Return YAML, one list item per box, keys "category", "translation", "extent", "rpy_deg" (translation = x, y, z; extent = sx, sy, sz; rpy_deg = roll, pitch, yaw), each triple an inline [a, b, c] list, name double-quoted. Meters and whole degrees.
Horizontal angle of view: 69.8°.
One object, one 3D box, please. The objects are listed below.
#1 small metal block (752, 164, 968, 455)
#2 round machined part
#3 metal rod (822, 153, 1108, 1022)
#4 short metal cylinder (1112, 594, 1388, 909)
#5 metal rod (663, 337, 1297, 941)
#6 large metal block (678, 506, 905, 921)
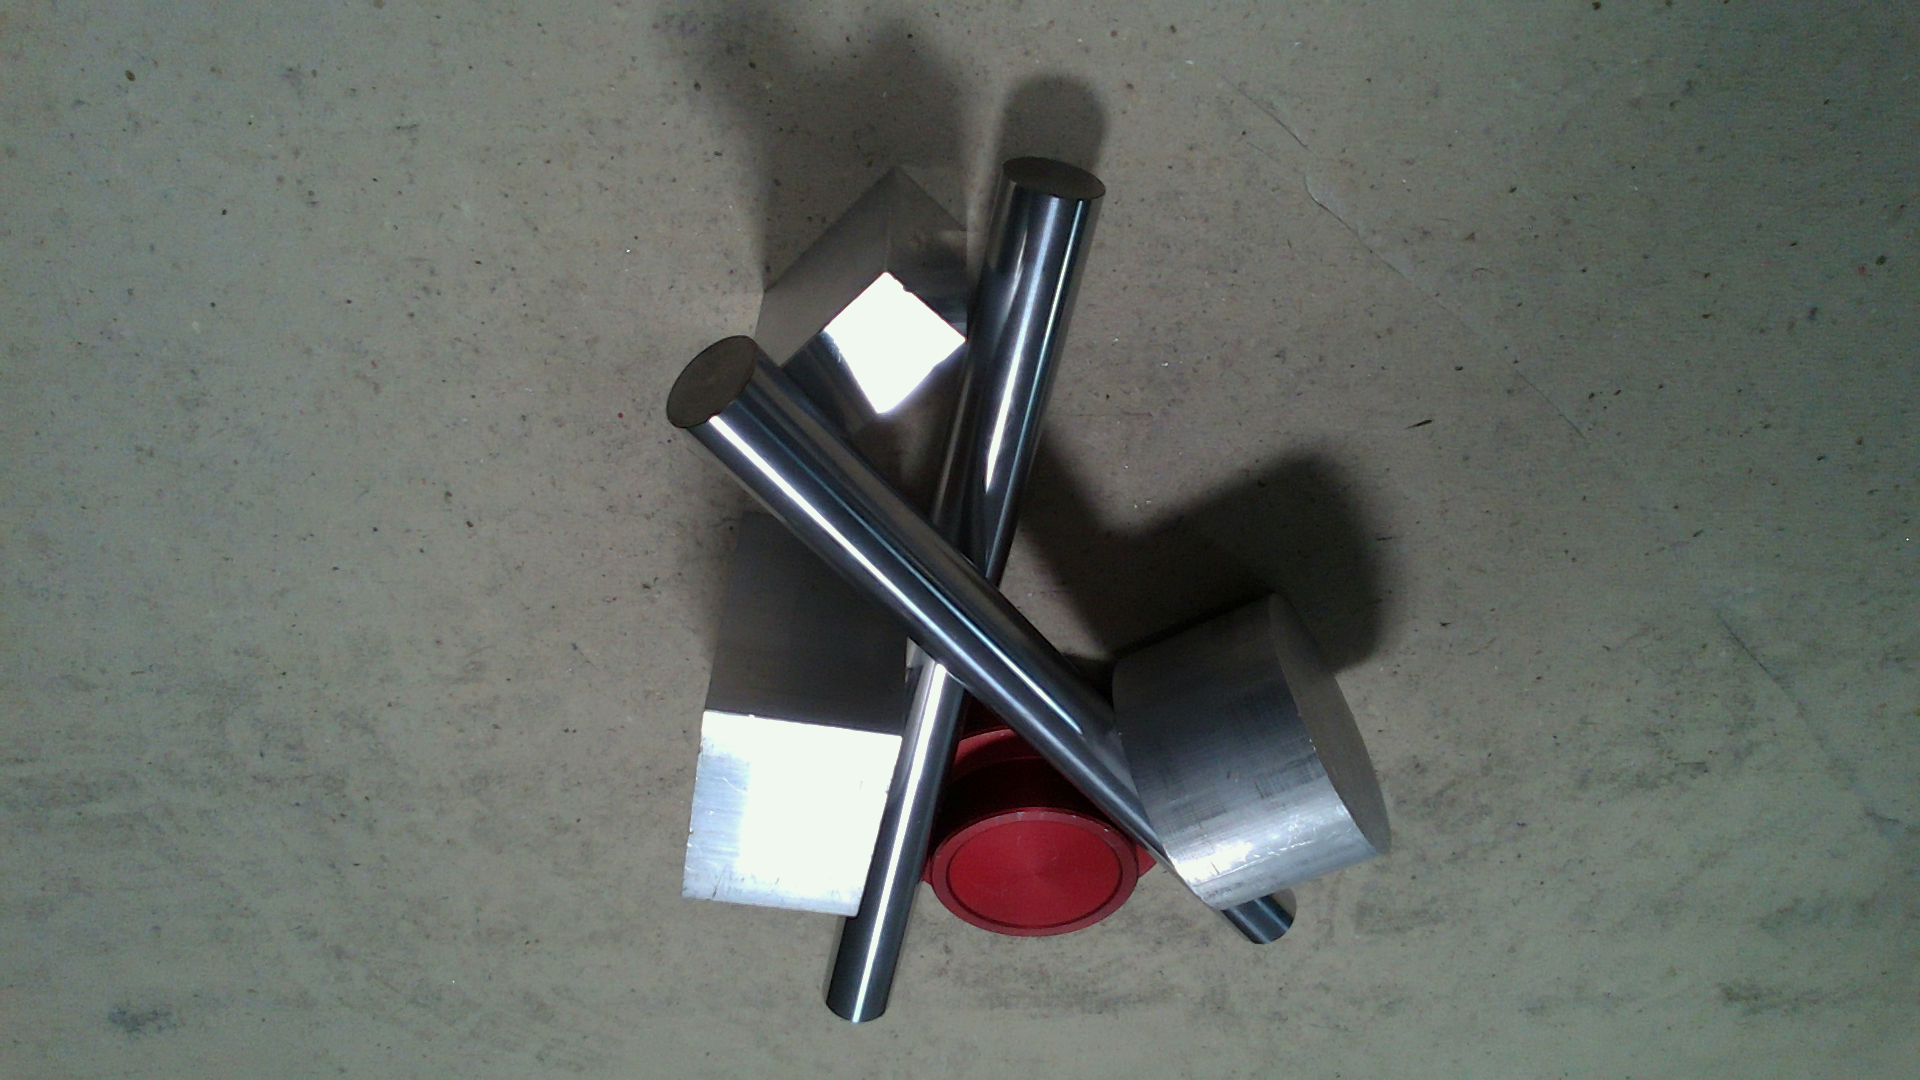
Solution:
- category: "small metal block"
  translation: [-0.025, -0.054, 0.328]
  extent: [0.025, 0.050, 0.050]
  rpy_deg: [37, 121, -27]
- category: "round machined part"
  translation: [0.024, 0.096, 0.461]
  extent: [0.098, 0.042, 0.098]
  rpy_deg: [0, 130, 0]
- category: "metal rod"
  translation: [-0.007, 0.037, 0.402]
  extent: [0.025, 0.025, 0.300]
  rpy_deg: [9, 123, -7]
- category: "short metal cylinder"
  translation: [0.087, 0.063, 0.409]
  extent: [0.050, 0.080, 0.080]
  rpy_deg: [-26, 126, 20]
- category: "metal rod"
  translation: [0.027, 0.048, 0.387]
  extent: [0.025, 0.025, 0.301]
  rpy_deg: [-26, 134, 20]
- category: "large metal block"
  translation: [-0.047, 0.050, 0.397]
  extent: [0.050, 0.080, 0.080]
  rpy_deg: [9, 130, -7]
